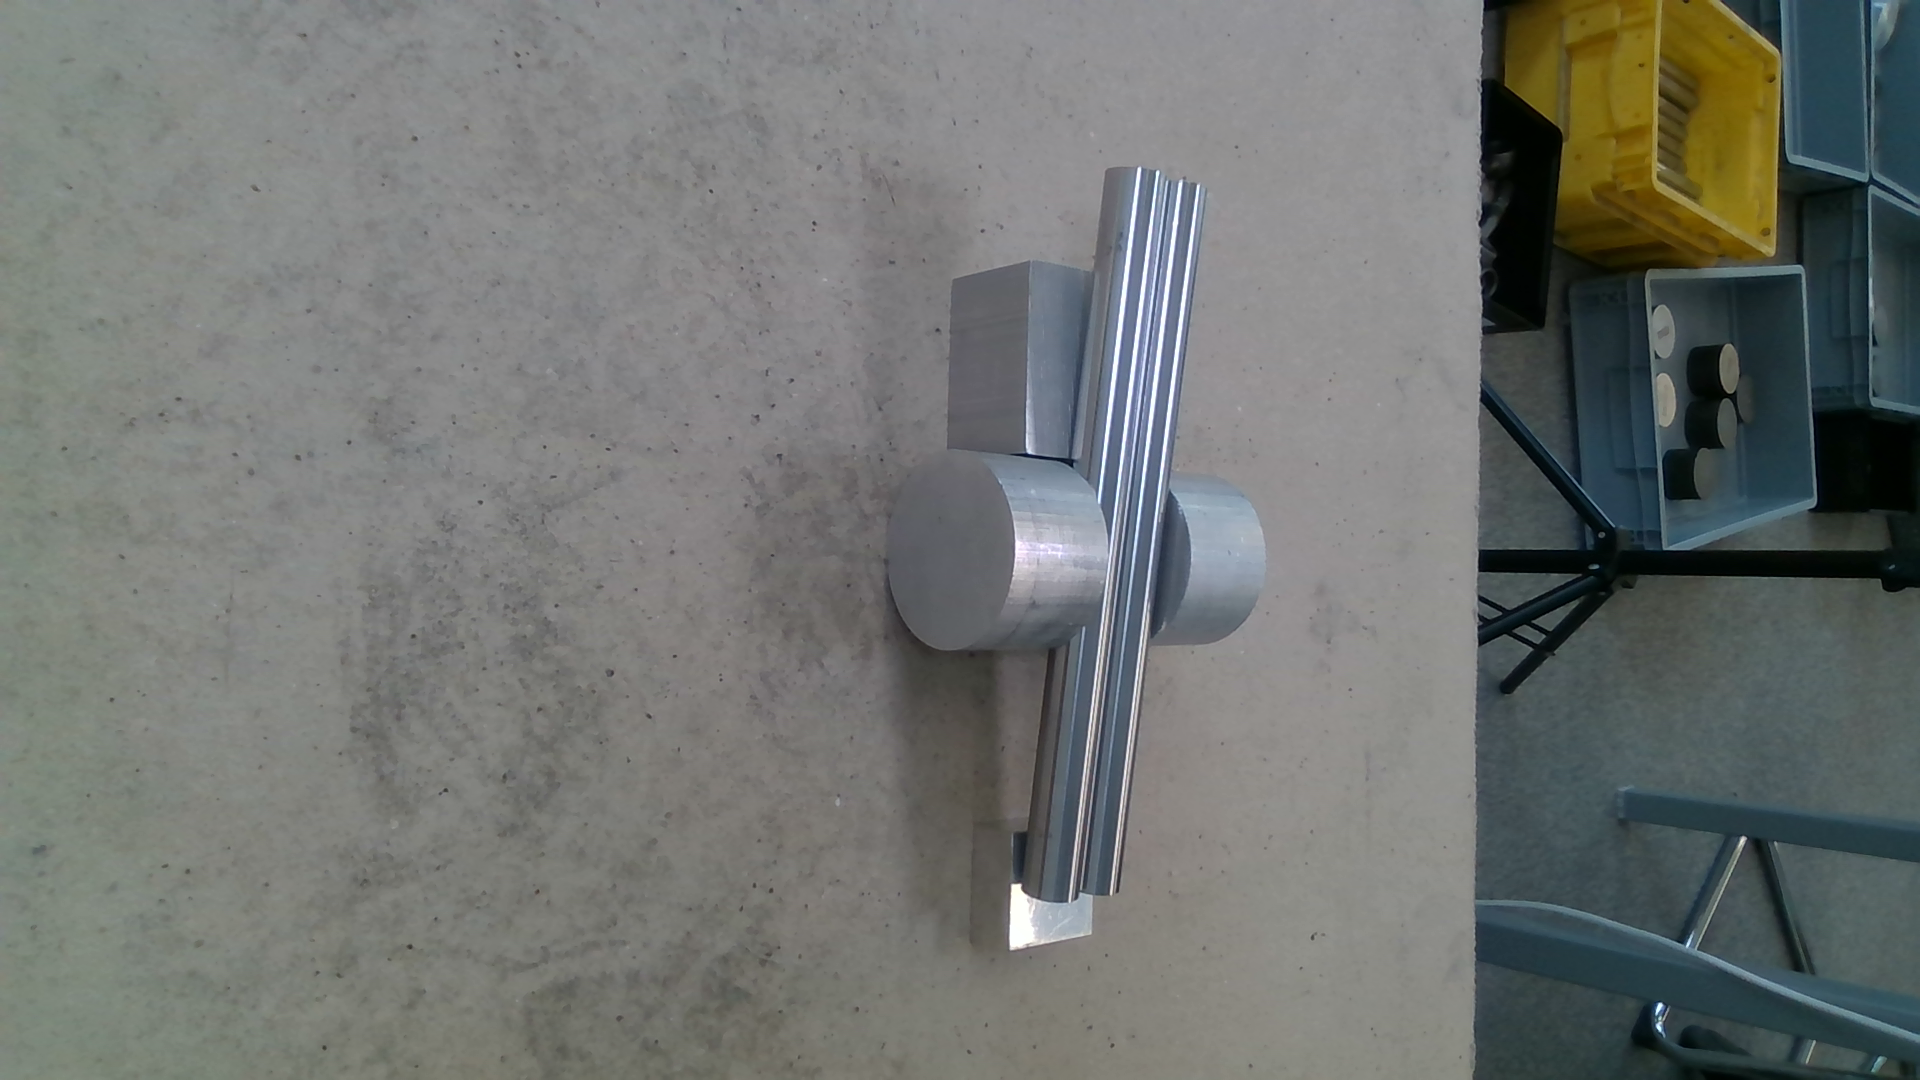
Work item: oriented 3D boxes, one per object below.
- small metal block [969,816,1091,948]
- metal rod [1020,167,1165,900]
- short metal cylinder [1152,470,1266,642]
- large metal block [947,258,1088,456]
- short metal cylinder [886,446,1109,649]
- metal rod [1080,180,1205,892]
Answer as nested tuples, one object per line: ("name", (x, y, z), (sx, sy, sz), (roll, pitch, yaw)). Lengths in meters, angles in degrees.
("small metal block", (0.032, 0.150, 0.612), (0.050, 0.025, 0.050), (4, 87, -40))
("metal rod", (0.054, 0.000, 0.571), (0.025, 0.025, 0.300), (2, 97, -40))
("short metal cylinder", (0.091, 0.008, 0.625), (0.050, 0.080, 0.080), (2, 89, -40))
("large metal block", (0.041, -0.073, 0.603), (0.080, 0.050, 0.080), (2, 89, -40))
("short metal cylinder", (0.014, 0.004, 0.560), (0.050, 0.080, 0.080), (2, 89, -40))
("metal rod", (0.073, 0.001, 0.587), (0.025, 0.025, 0.300), (2, 97, -40))
